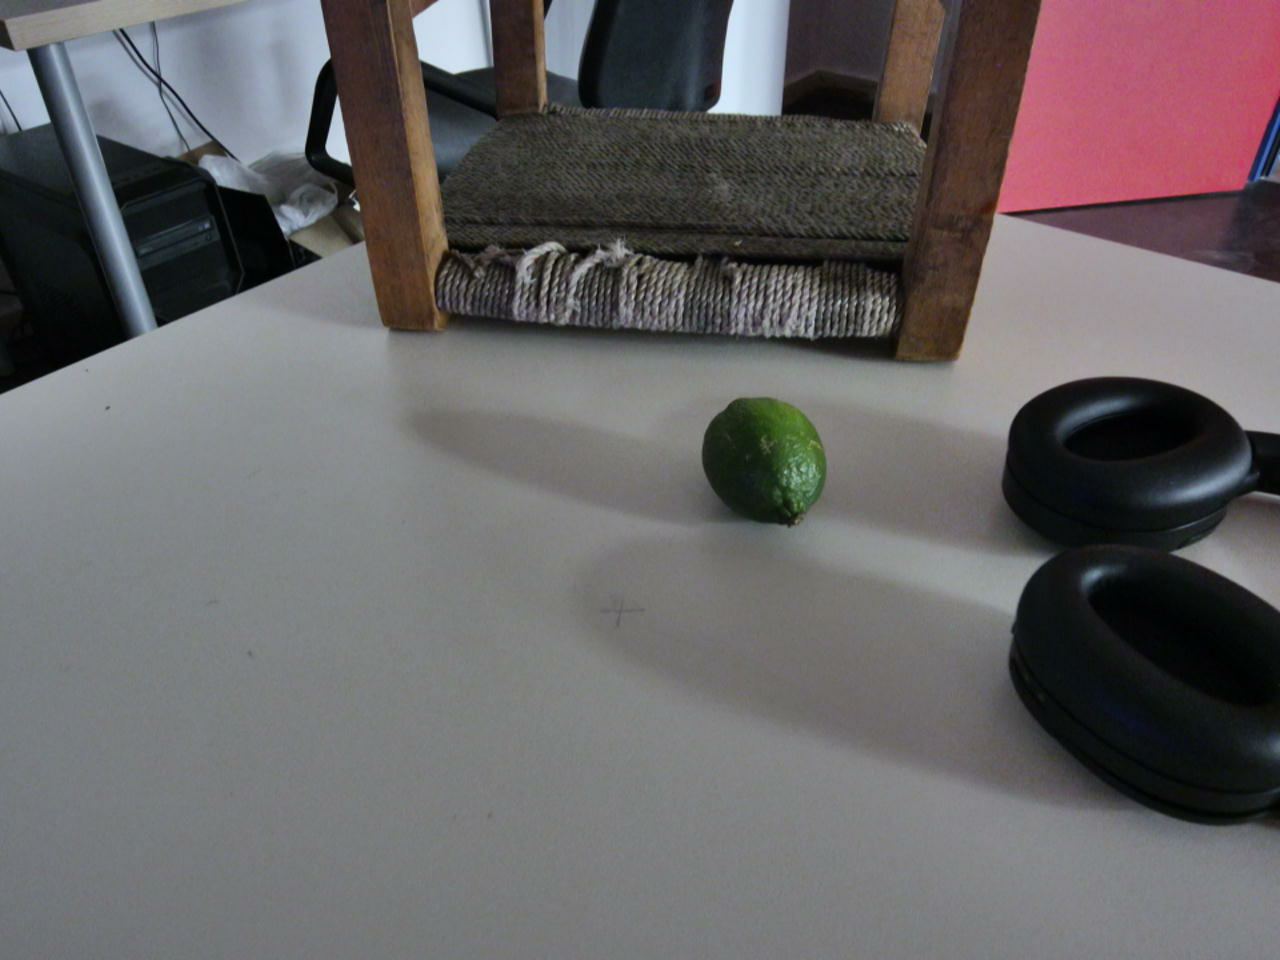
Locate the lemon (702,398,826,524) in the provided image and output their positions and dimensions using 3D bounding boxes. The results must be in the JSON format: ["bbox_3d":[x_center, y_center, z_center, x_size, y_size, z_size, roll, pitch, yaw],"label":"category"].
[{"bbox_3d":[0.054,-0.010,0.438,0.057,0.051,0.054,23,43,29],"label":"lemon"}]
